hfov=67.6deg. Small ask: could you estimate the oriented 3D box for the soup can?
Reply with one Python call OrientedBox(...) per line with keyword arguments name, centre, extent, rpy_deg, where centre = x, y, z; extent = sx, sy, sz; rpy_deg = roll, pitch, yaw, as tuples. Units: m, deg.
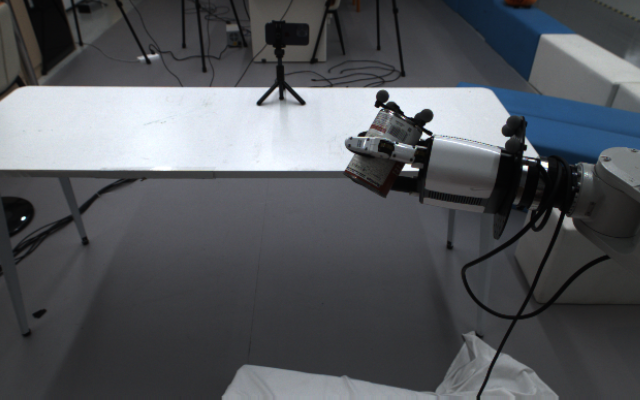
OrientedBox(name="soup can", centre=(0.085, -0.064, 0.655), extent=(0.067, 0.101, 0.067), rpy_deg=(30, 1, -1))
